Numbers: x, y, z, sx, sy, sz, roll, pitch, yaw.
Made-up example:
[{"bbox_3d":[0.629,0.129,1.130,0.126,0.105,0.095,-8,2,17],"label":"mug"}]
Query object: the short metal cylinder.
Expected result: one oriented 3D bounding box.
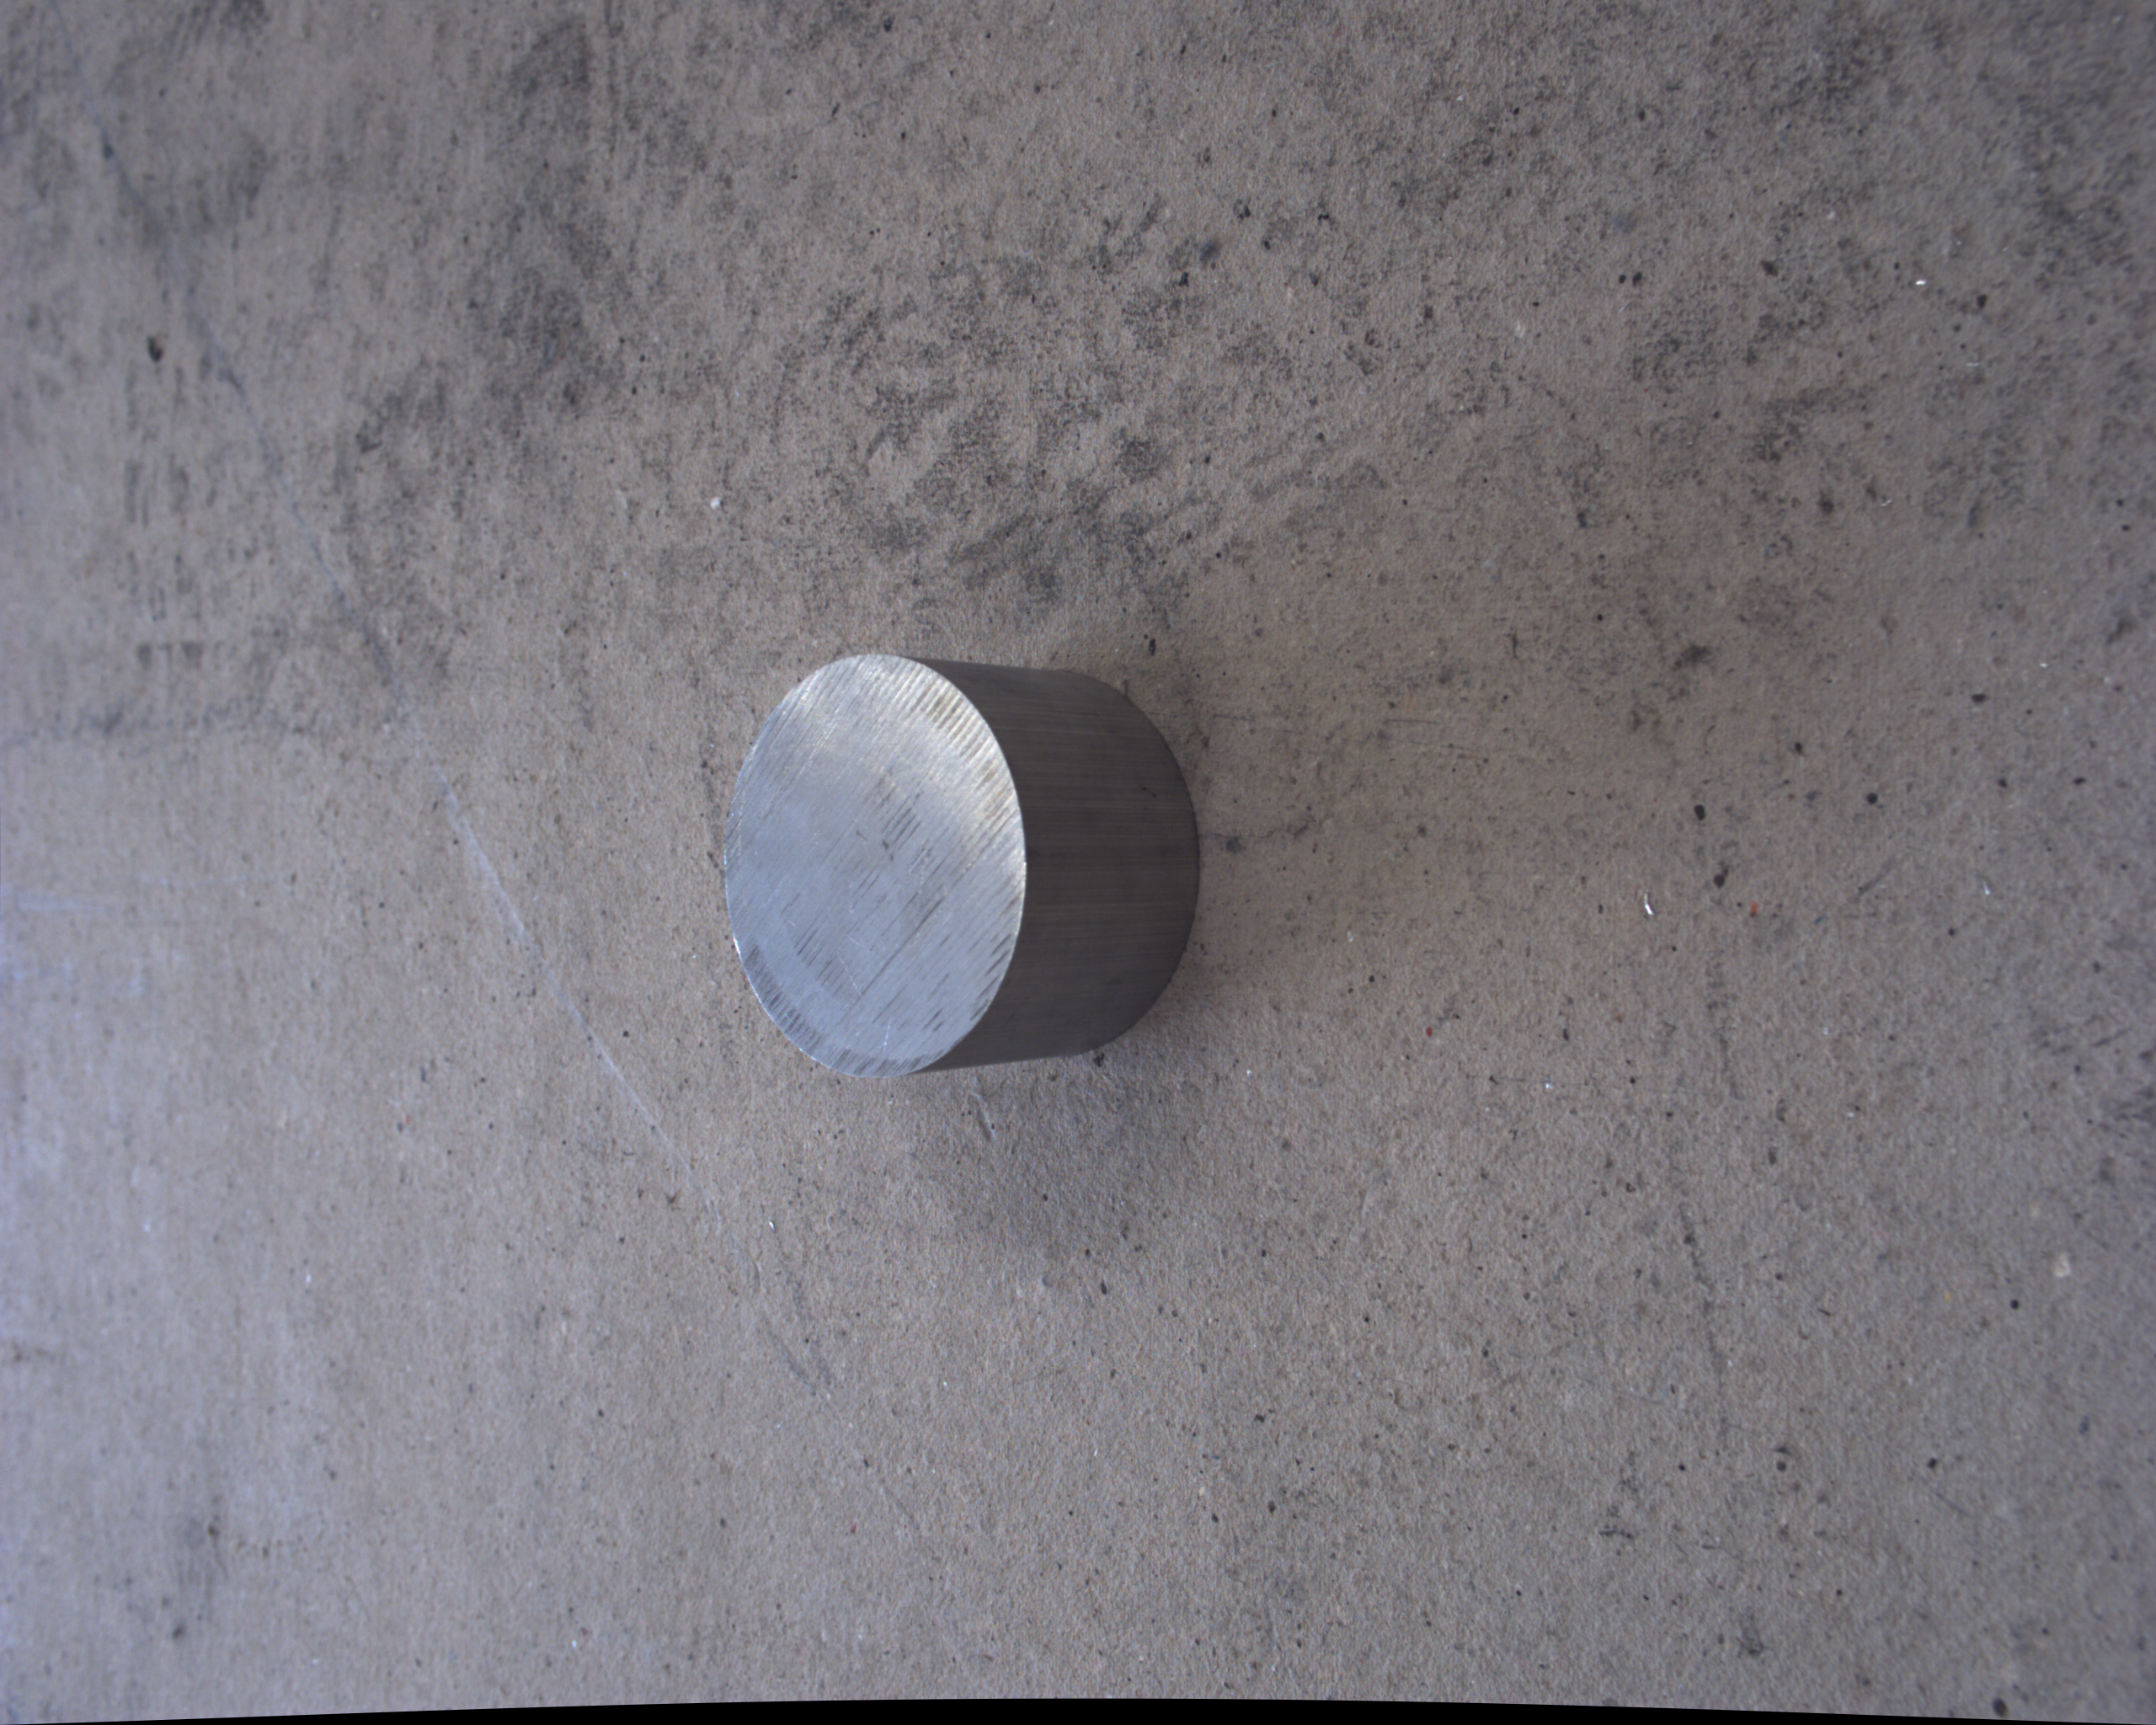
[{"bbox_3d":[-0.024,0.000,0.411,0.080,0.050,0.080,0,90,39],"label":"short metal cylinder"}]
